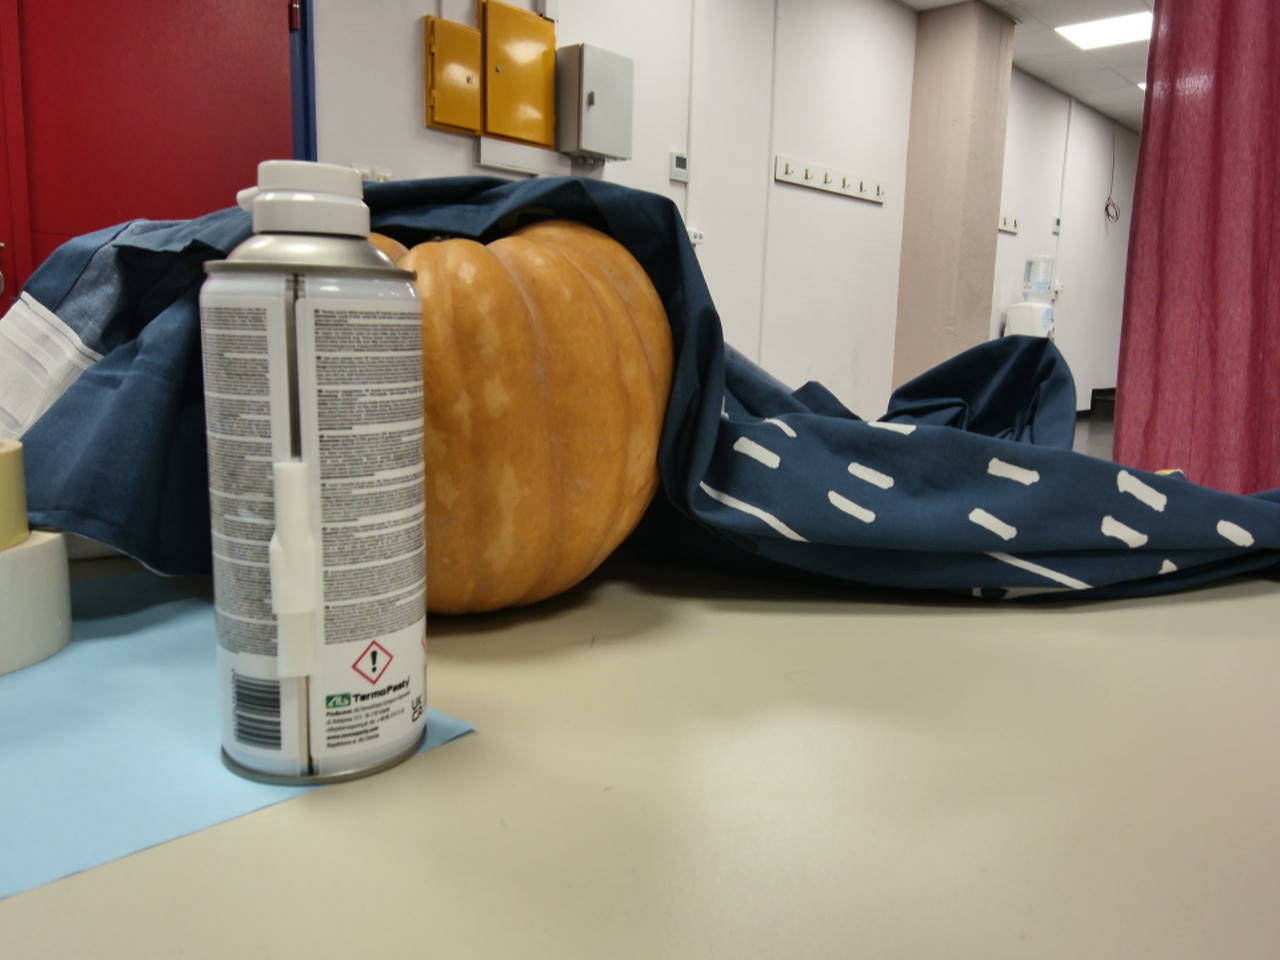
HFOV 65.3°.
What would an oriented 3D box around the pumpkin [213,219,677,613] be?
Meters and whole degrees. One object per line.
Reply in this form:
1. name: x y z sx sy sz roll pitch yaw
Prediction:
1. pumpkin: -0.093 -0.035 0.504 0.230 0.194 0.230 0 7 0
